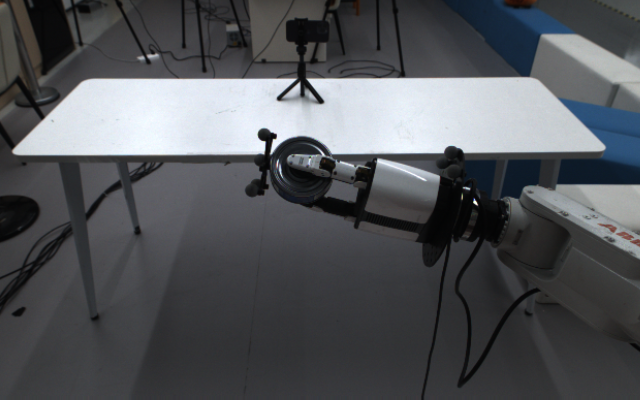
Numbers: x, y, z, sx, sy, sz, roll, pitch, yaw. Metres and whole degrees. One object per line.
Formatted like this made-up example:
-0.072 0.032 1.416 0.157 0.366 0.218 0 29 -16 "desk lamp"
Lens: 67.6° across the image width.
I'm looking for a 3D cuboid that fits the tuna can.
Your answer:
-0.022 -0.041 0.639 0.085 0.034 0.085 2 73 -5 "tuna can"
